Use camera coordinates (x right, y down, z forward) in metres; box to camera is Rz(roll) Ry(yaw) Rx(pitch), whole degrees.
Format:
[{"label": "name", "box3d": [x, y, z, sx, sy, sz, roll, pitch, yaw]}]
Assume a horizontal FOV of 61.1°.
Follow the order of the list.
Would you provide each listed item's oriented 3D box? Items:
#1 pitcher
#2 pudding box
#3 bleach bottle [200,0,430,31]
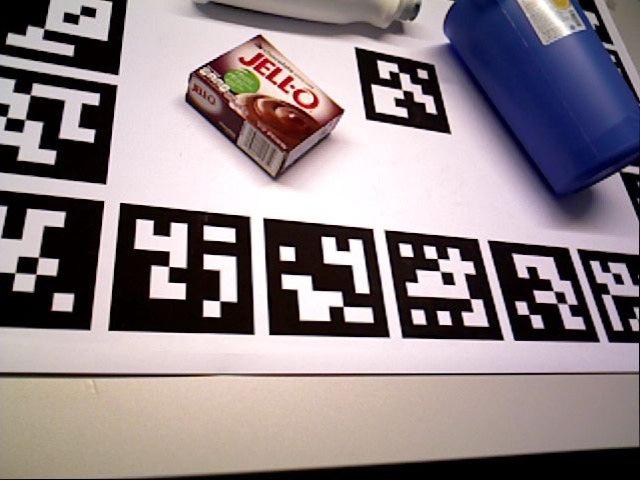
[{"label": "pitcher", "box3d": [0.258, -0.149, 0.592, 0.186, 0.135, 0.242, -3, 65, -62]}, {"label": "pudding box", "box3d": [-0.041, -0.112, 0.477, 0.114, 0.039, 0.088, 46, 51, 3]}, {"label": "bleach bottle", "box3d": [0.004, -0.263, 0.565, 0.247, 0.069, 0.102, 4, 67, -23]}]
